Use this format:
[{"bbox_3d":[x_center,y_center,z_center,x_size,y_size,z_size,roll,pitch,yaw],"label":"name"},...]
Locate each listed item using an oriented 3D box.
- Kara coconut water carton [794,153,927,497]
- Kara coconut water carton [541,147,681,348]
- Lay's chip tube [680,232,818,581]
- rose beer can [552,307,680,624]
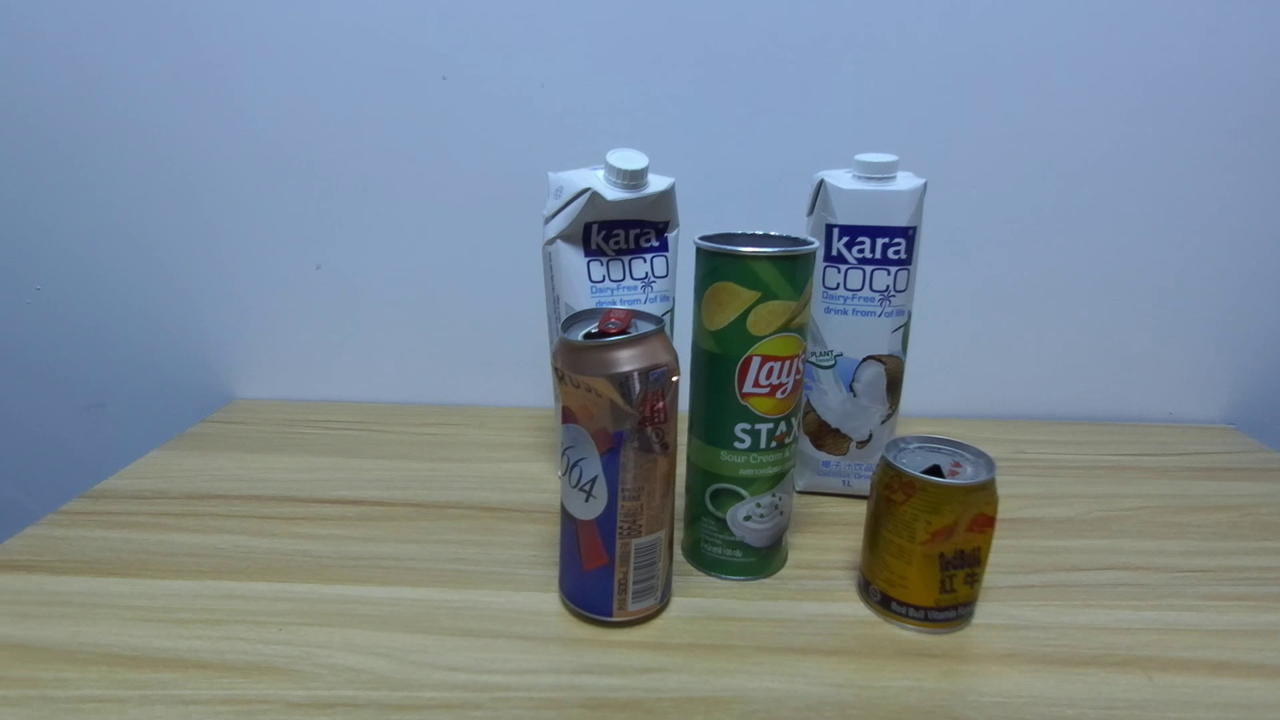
[{"bbox_3d":[0.155,-0.023,0.518,0.077,0.245,0.075,3,16,7],"label":"Kara coconut water carton"},{"bbox_3d":[-0.017,-0.026,0.516,0.100,0.244,0.071,-14,22,-30],"label":"Kara coconut water carton"},{"bbox_3d":[0.064,0.027,0.427,0.071,0.202,0.071,1,18,0],"label":"Lay's chip tube"},{"bbox_3d":[-0.015,0.060,0.387,0.065,0.167,0.075,-7,21,-17],"label":"rose beer can"}]
